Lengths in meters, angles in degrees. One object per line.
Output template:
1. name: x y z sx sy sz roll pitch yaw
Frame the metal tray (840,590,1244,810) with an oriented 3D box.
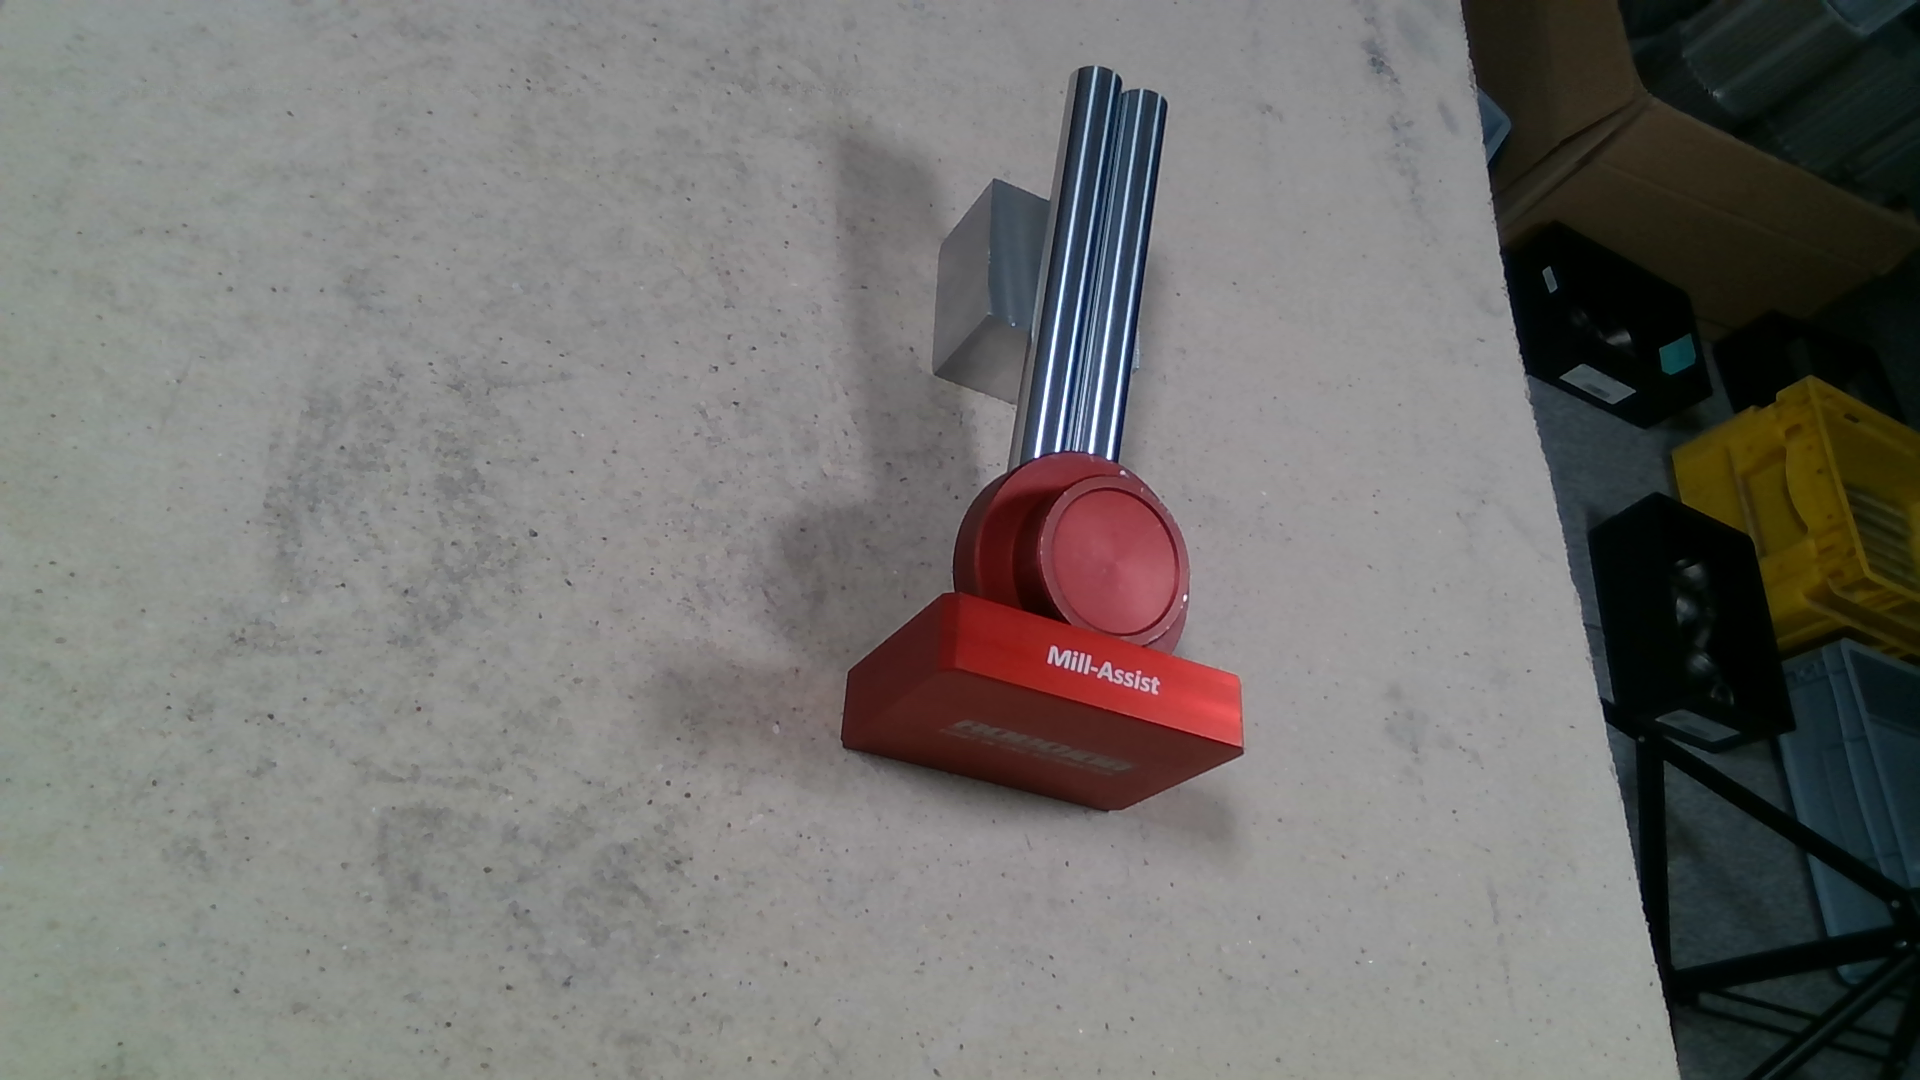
1. metal tray: 0.031 0.065 0.528 0.130 0.090 0.030 18 57 -23

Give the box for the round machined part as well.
1. round machined part: 0.050 0.011 0.537 0.098 0.042 0.098 8 72 -25

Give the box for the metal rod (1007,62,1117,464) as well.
1. metal rod: 0.038 -0.073 0.591 0.025 0.025 0.299 17 70 -23

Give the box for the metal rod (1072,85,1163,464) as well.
1. metal rod: 0.062 -0.065 0.601 0.025 0.025 0.299 17 70 -24

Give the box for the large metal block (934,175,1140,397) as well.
1. large metal block: 0.037 -0.112 0.648 0.080 0.050 0.080 17 57 -23
